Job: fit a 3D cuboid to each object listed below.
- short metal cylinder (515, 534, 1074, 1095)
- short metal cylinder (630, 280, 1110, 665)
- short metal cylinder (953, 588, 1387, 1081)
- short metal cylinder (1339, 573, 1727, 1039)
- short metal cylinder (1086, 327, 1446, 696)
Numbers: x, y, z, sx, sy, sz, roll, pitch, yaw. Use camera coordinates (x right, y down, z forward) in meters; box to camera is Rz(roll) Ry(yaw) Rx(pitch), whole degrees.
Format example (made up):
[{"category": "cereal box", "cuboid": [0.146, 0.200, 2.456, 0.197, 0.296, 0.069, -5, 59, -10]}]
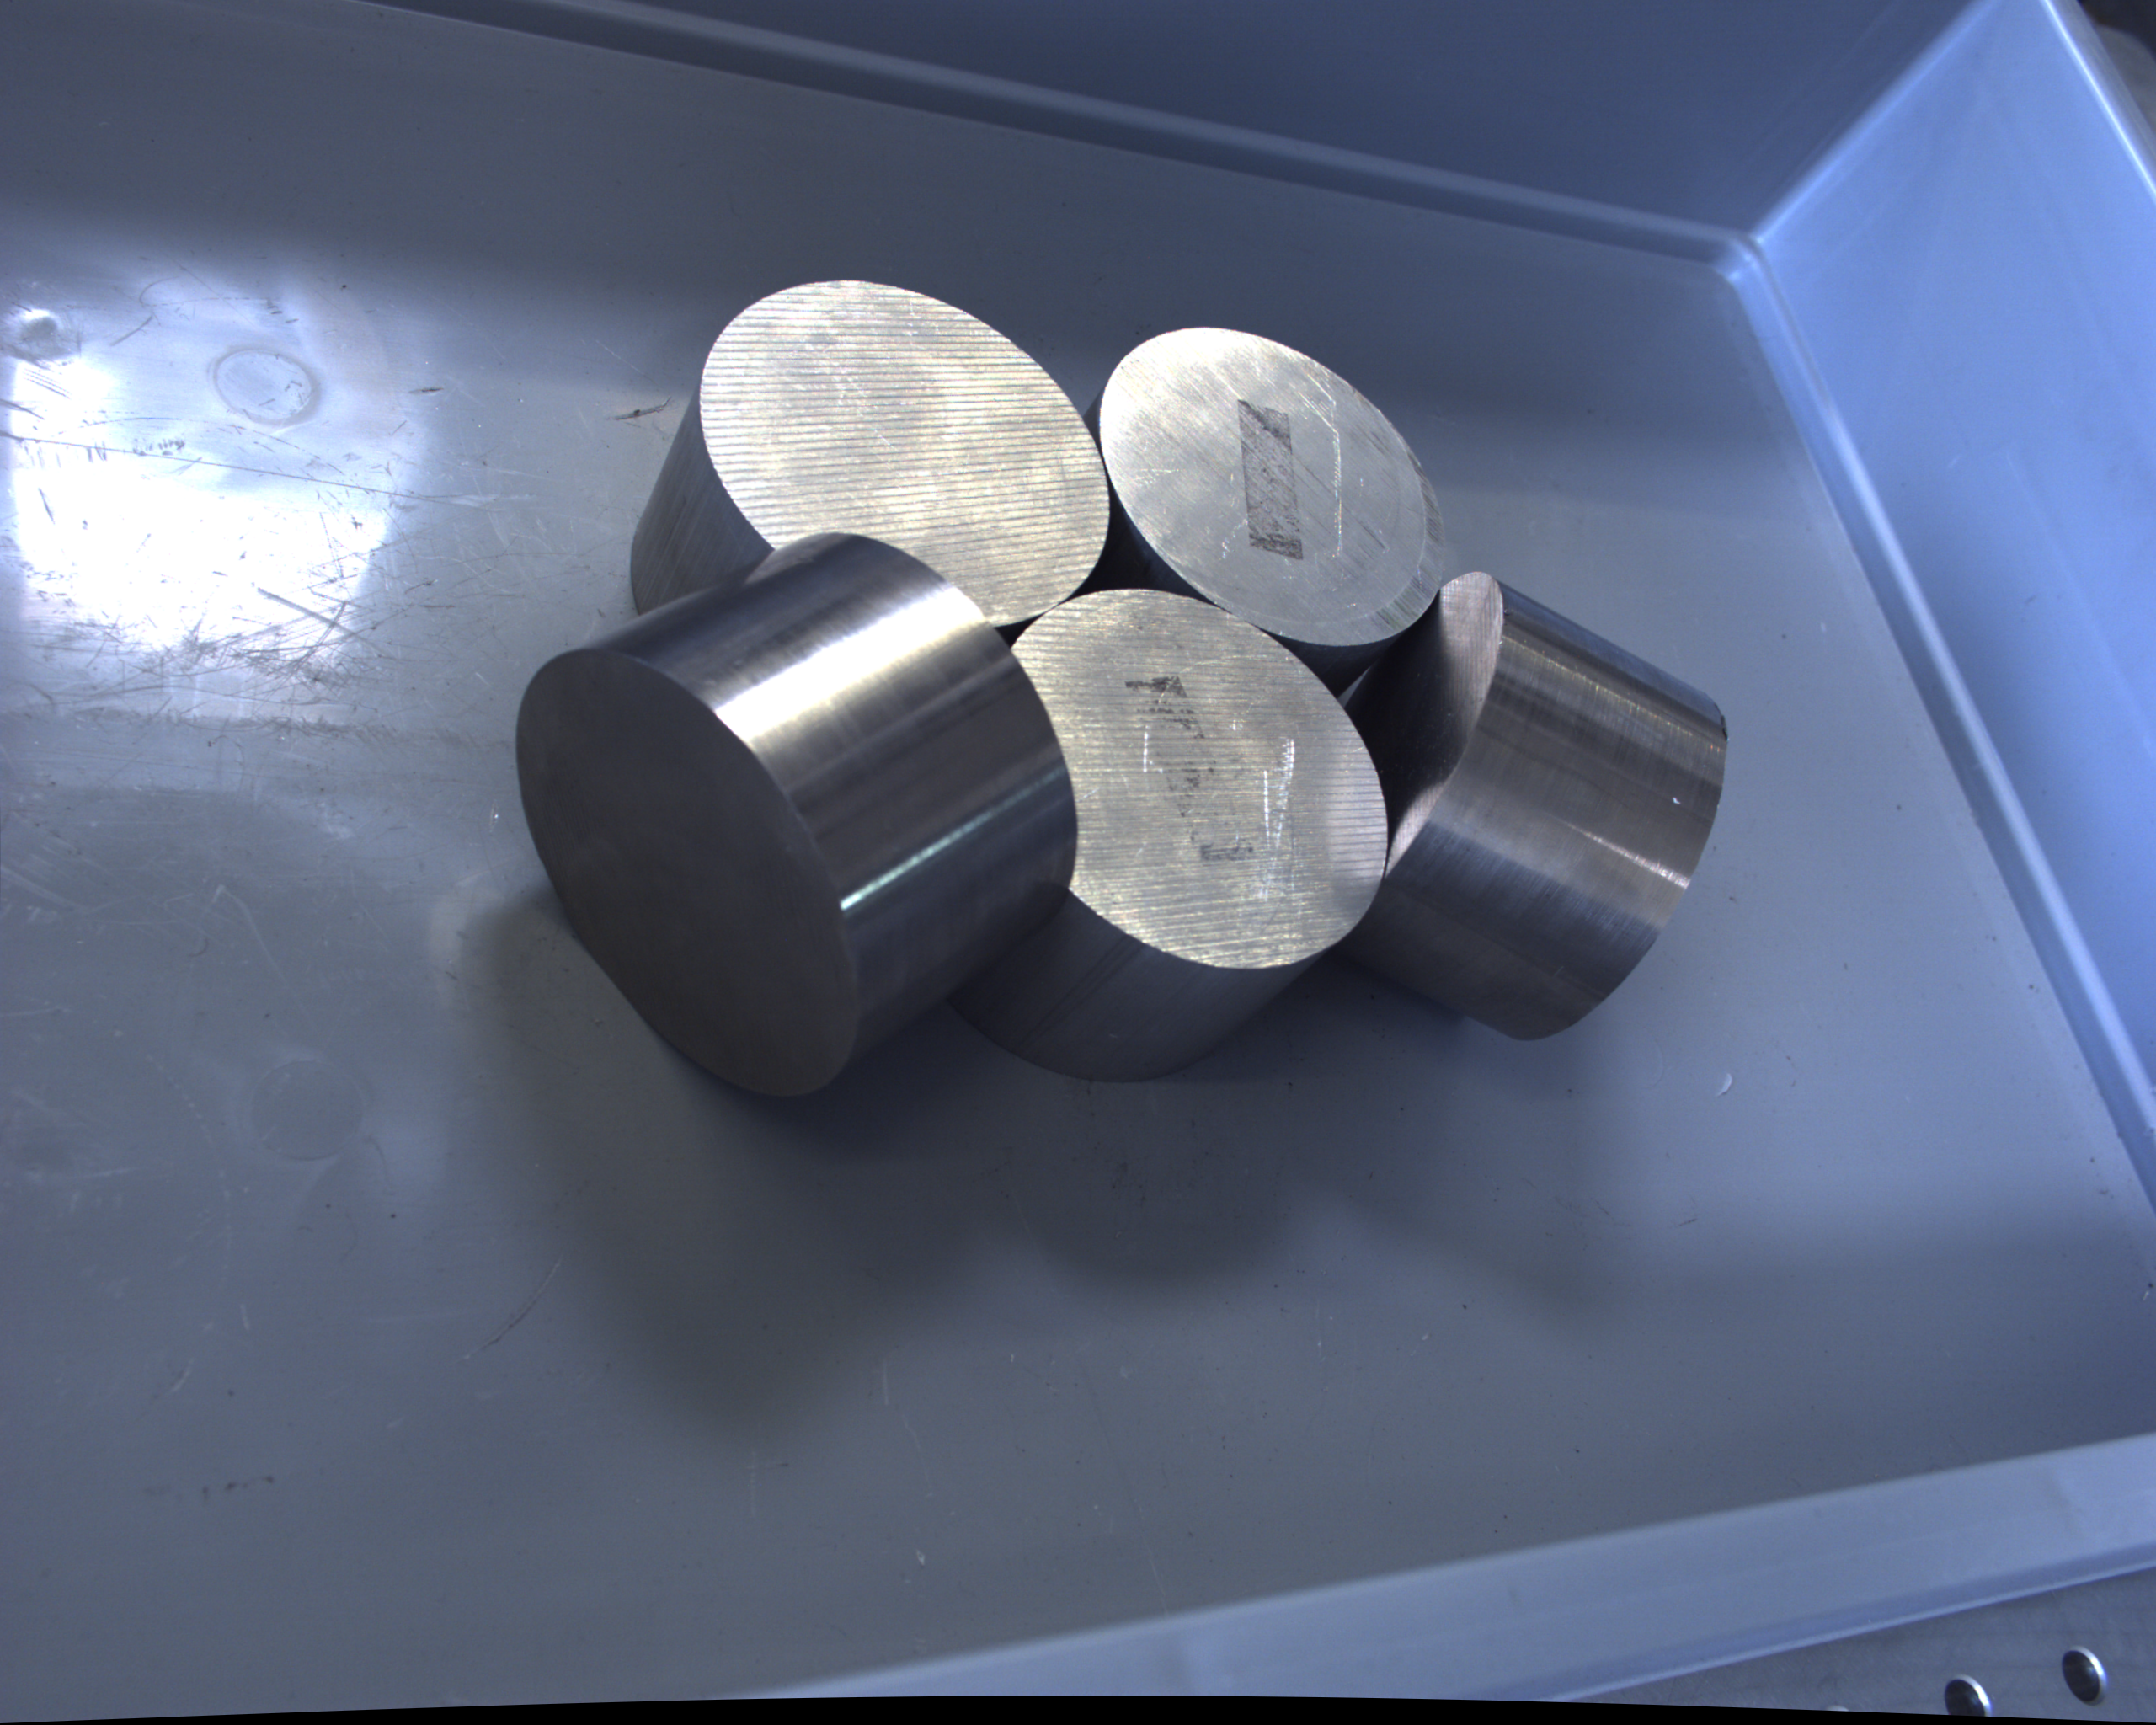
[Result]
[{"category": "short metal cylinder", "cuboid": [-0.048, -0.008, 0.348, 0.050, 0.080, 0.080, -35, 81, -38]}, {"category": "short metal cylinder", "cuboid": [-0.041, -0.065, 0.405, 0.081, 0.050, 0.080, 14, 56, -21]}, {"category": "short metal cylinder", "cuboid": [0.011, -0.005, 0.396, 0.081, 0.050, 0.080, 14, 56, -21]}, {"category": "short metal cylinder", "cuboid": [0.084, -0.011, 0.420, 0.050, 0.080, 0.080, 26, 53, -12]}, {"category": "short metal cylinder", "cuboid": [0.030, -0.066, 0.444, 0.081, 0.050, 0.080, 14, 56, -21]}]
